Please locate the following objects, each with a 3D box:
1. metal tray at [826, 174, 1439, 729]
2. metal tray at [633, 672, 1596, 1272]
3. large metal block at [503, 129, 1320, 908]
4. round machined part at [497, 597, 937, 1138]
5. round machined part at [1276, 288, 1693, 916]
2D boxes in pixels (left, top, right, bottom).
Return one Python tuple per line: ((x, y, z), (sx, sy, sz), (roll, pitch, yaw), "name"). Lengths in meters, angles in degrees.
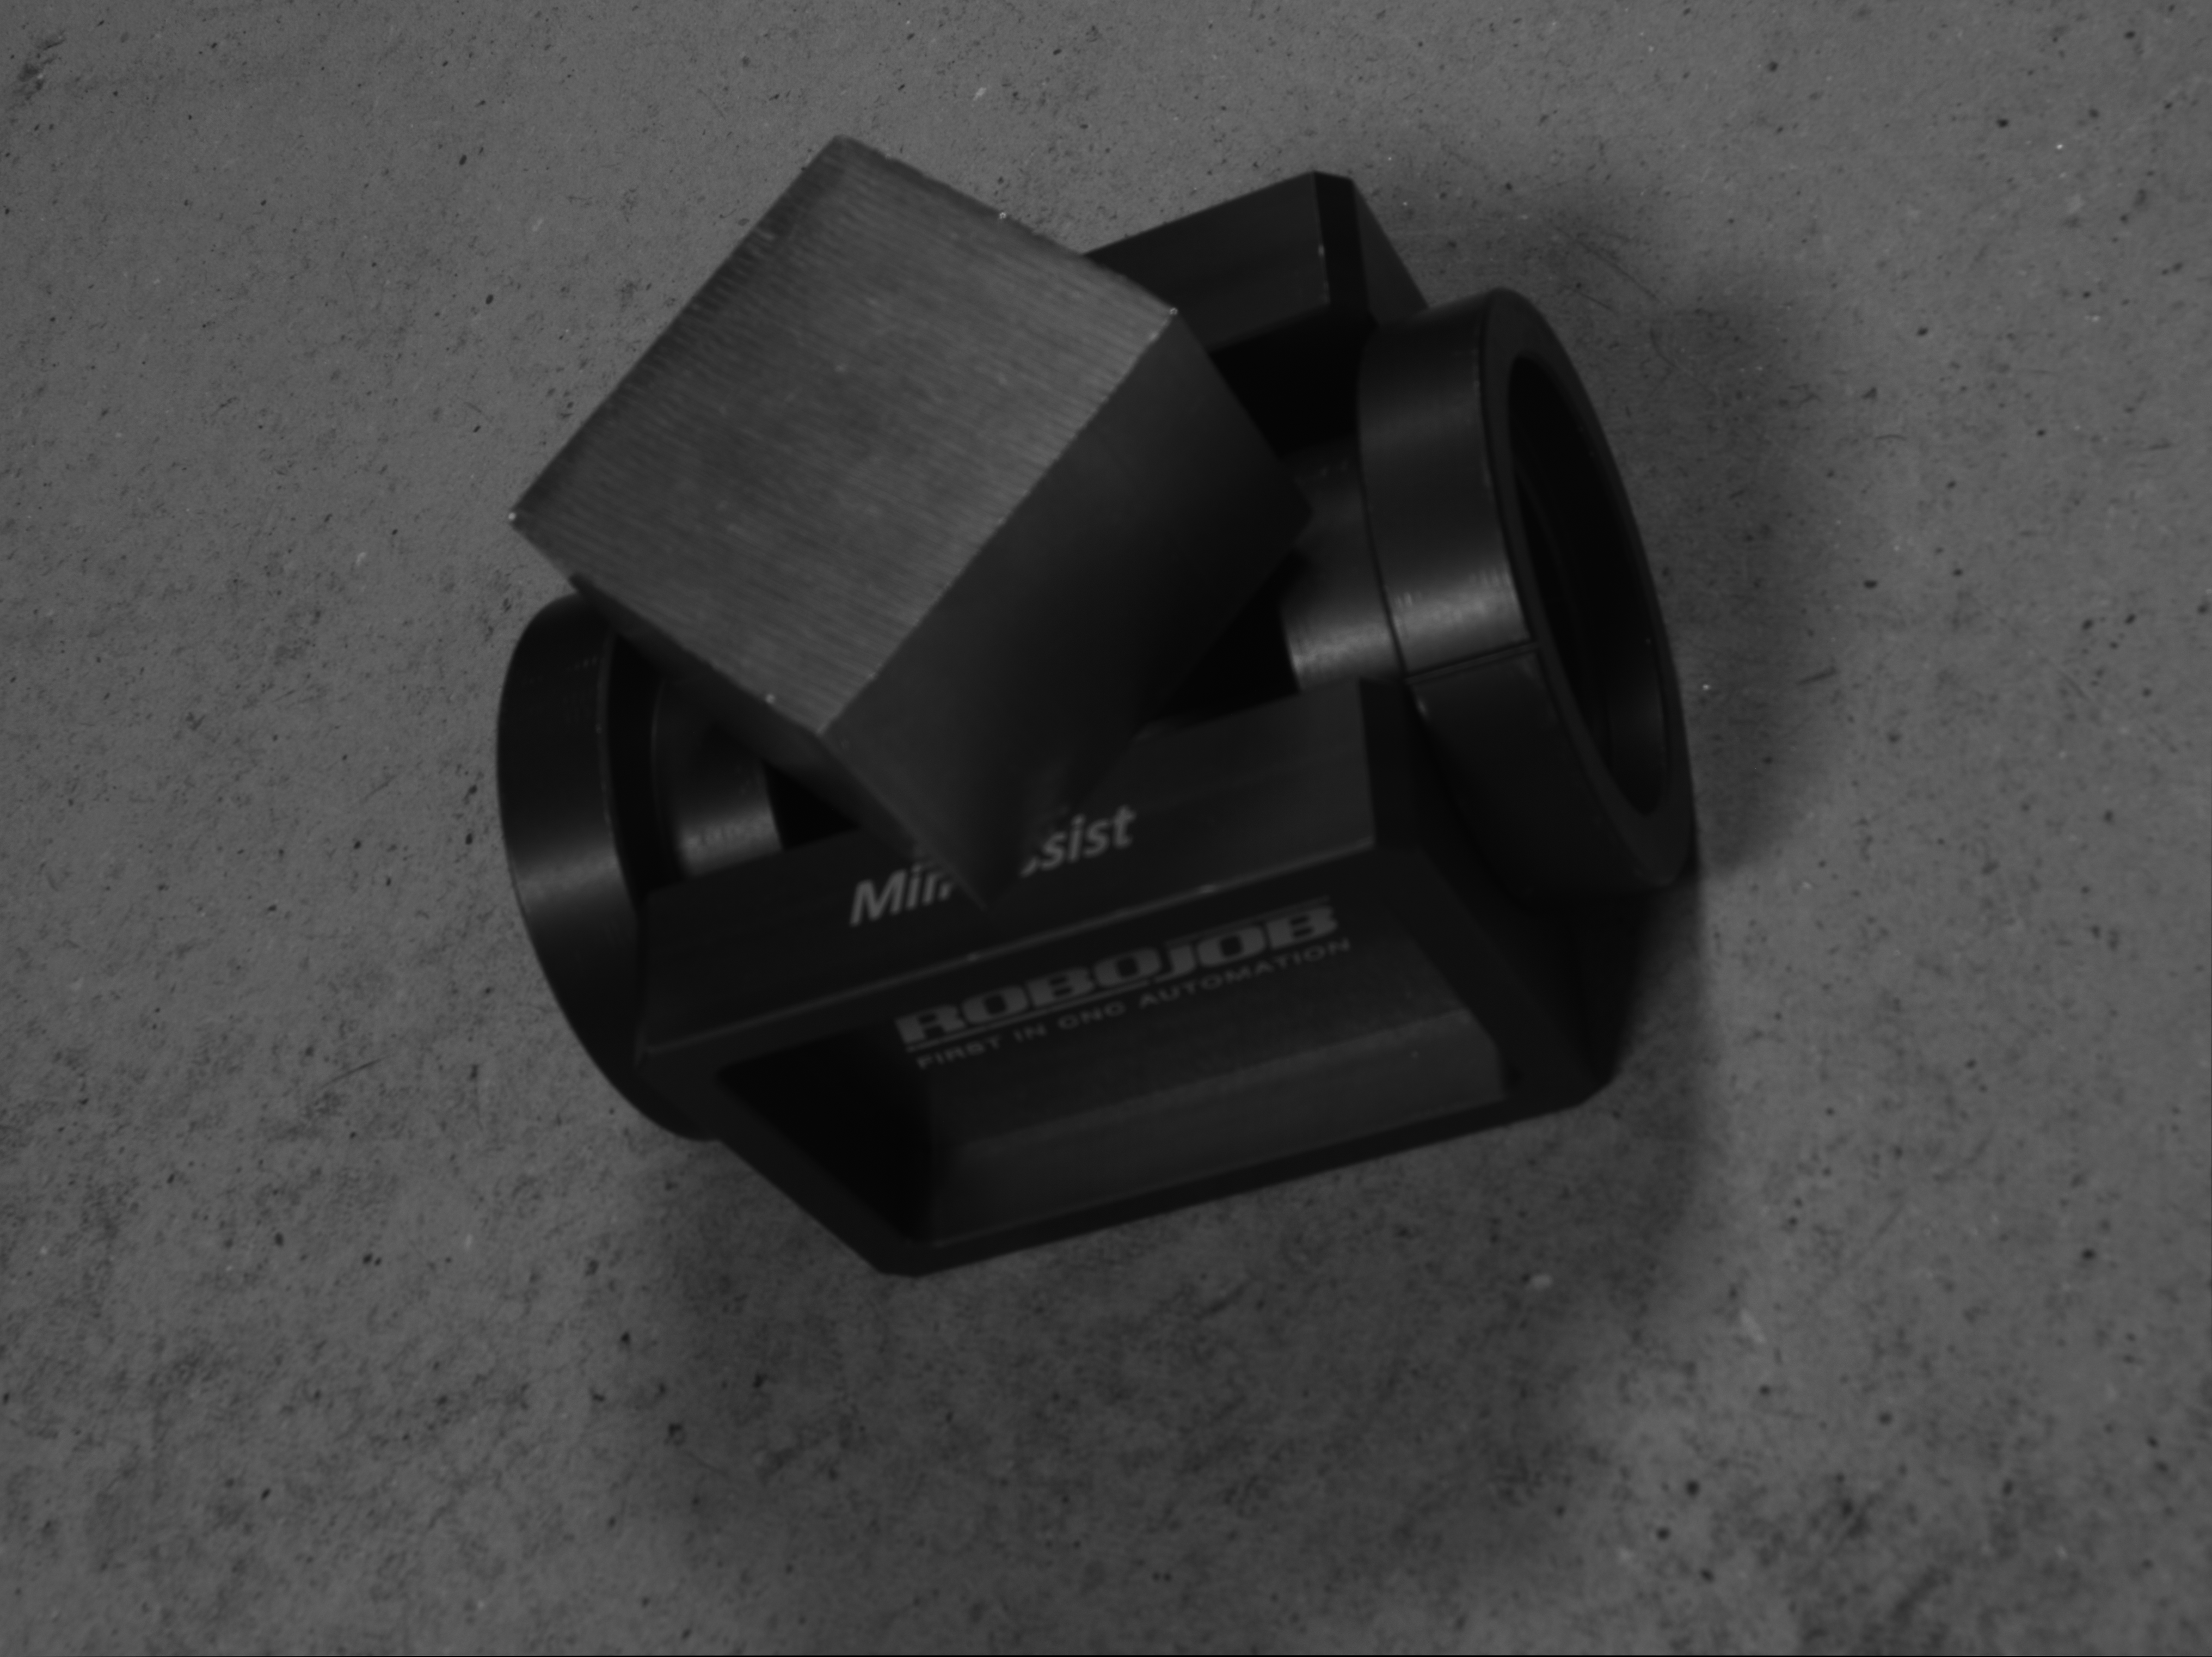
((0.000, -0.056, 0.638), (0.130, 0.090, 0.030), (-17, 55, 19), "metal tray")
((0.002, 0.027, 0.583), (0.130, 0.090, 0.030), (-17, 55, 19), "metal tray")
((-0.029, -0.048, 0.554), (0.080, 0.050, 0.080), (34, 80, 38), "large metal block")
((-0.060, 0.001, 0.628), (0.042, 0.098, 0.098), (-15, 55, 20), "round machined part")
((0.059, -0.033, 0.586), (0.042, 0.098, 0.098), (-15, 55, 20), "round machined part")
